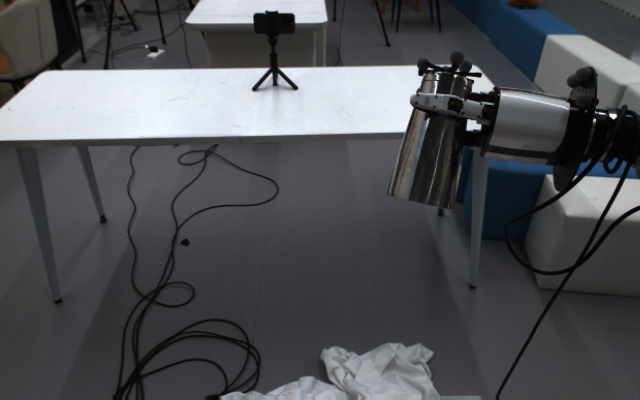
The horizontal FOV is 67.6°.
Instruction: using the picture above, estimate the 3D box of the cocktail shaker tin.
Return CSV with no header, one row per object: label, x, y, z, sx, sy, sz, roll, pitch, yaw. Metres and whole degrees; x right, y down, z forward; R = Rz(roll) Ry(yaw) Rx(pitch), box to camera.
cocktail shaker tin,0.156,-0.083,0.658,0.093,0.170,0.093,13,3,-1
